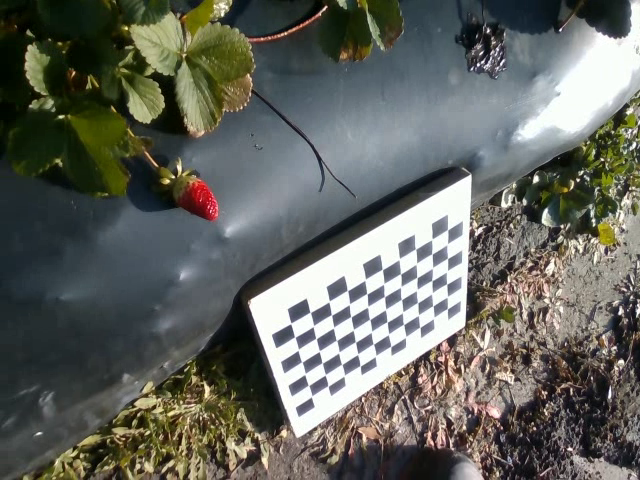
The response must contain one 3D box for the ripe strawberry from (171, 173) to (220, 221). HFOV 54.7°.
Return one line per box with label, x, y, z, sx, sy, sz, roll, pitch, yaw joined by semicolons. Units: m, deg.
ripe strawberry;-0.084;-0.027;0.425;0.041;0.028;0.031;44;1;8
